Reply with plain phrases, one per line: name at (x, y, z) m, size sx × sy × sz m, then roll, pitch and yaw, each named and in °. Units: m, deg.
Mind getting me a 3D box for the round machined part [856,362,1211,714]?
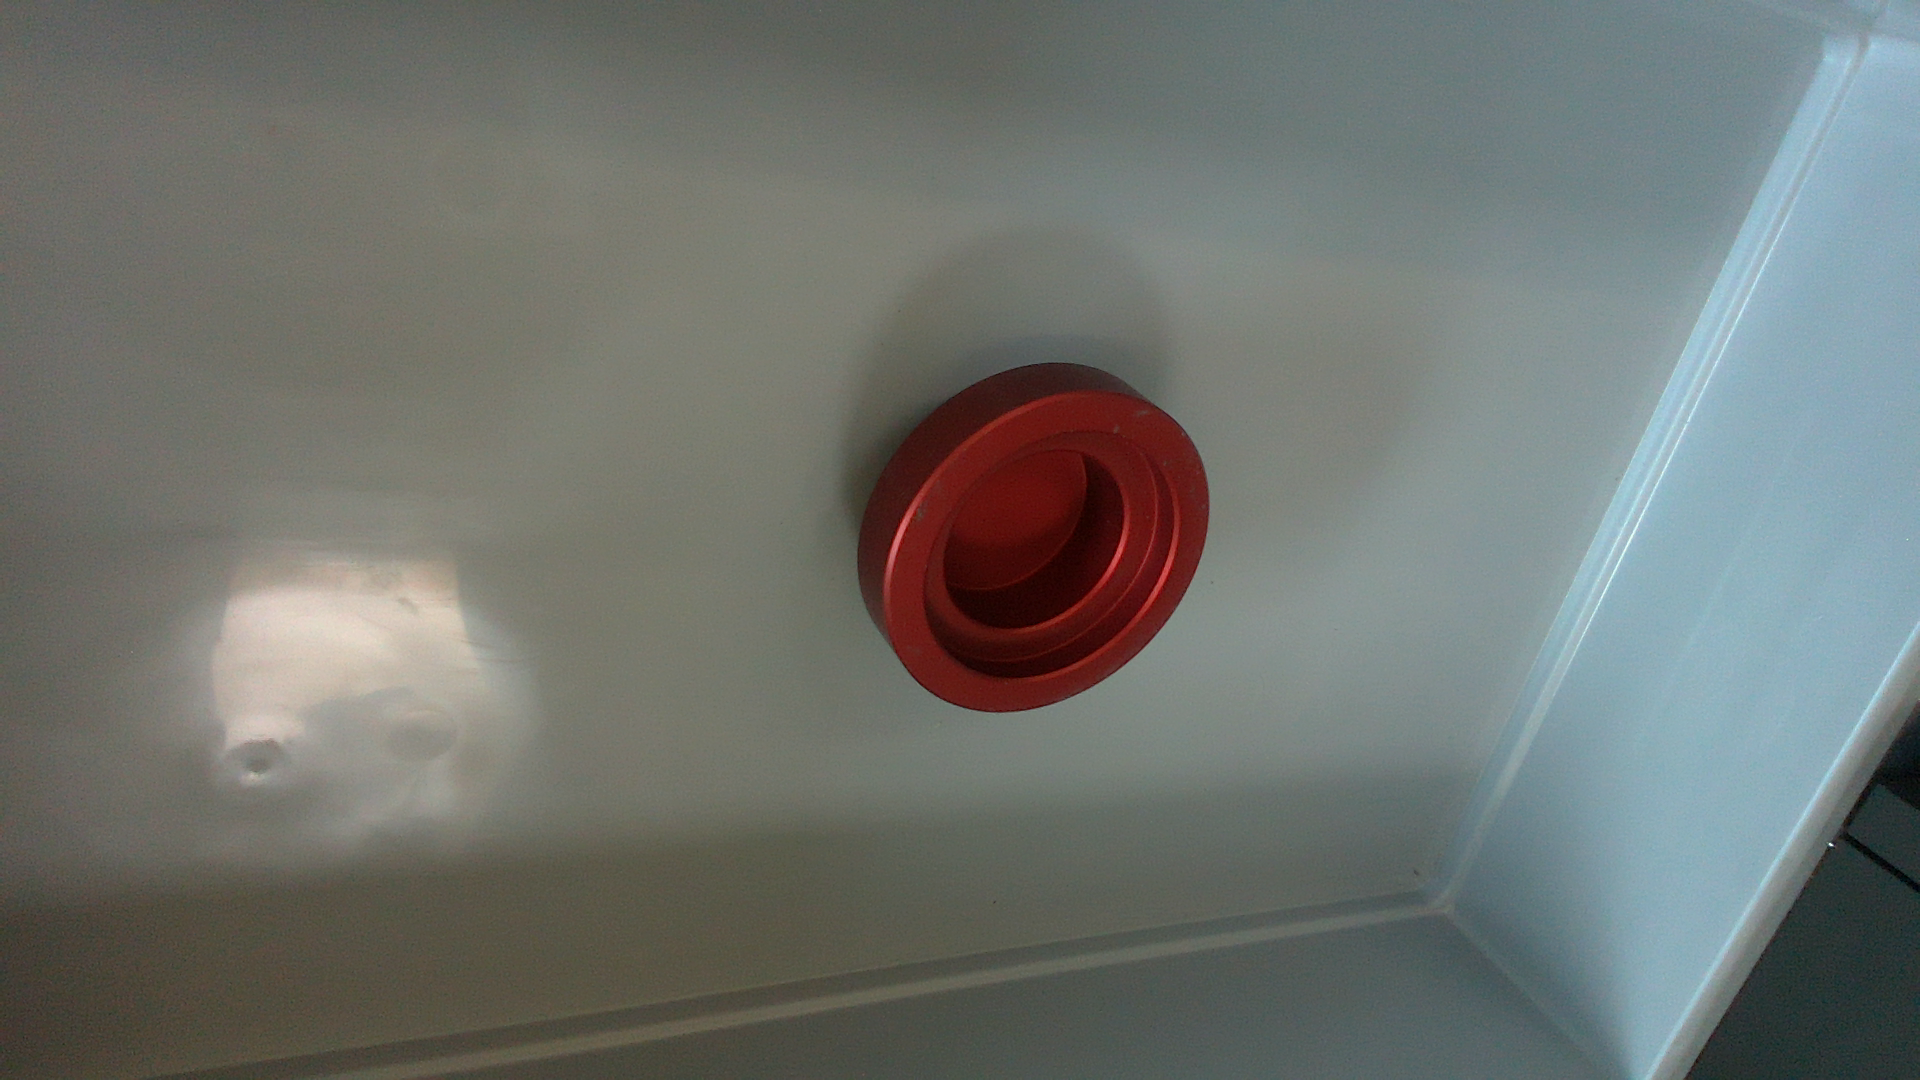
round machined part at (0.017, -0.004, 0.381) m, size 0.098 × 0.042 × 0.098 m, roll -14°, pitch 124°, yaw -21°
